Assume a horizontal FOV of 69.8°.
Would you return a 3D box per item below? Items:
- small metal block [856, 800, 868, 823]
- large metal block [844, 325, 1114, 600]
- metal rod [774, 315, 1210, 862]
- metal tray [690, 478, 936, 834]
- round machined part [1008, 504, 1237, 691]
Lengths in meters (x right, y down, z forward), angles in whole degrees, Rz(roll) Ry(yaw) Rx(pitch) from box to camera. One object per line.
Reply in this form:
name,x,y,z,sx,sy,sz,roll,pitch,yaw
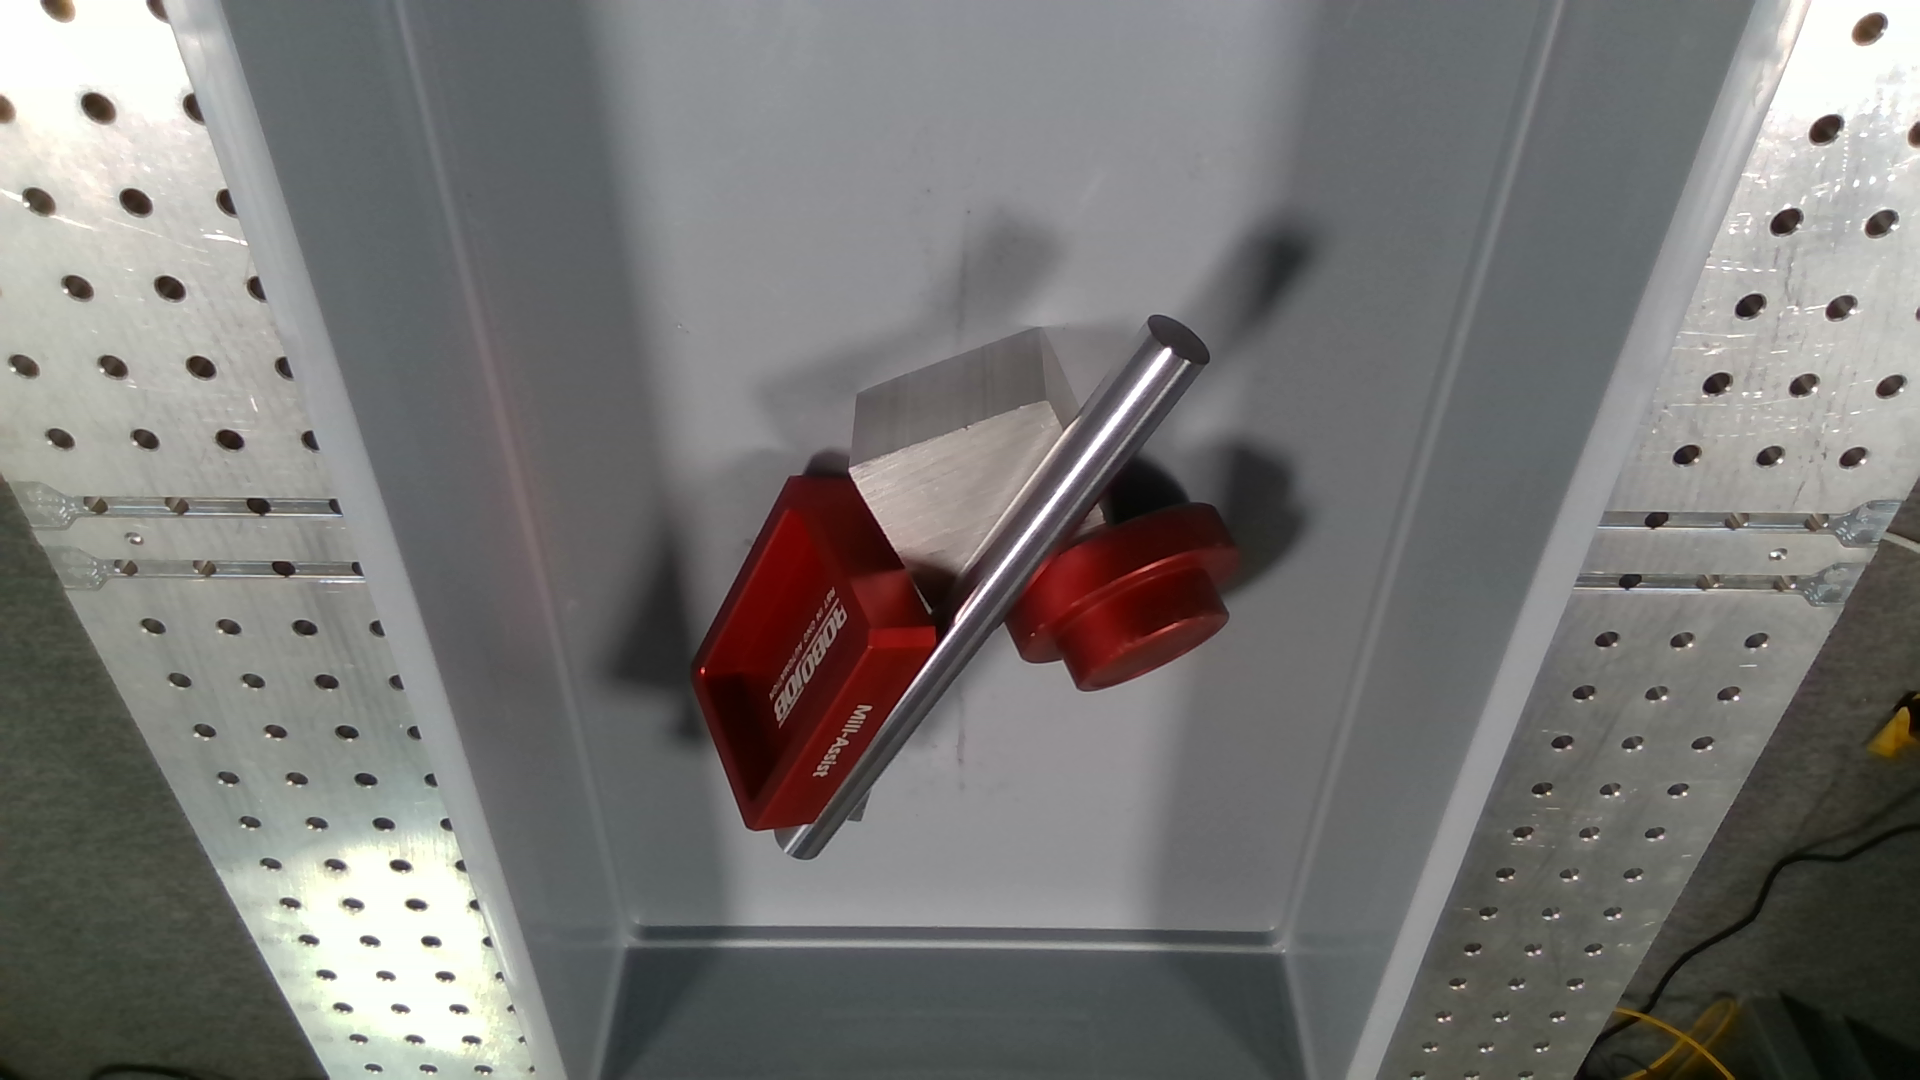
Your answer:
small metal block,-0.067,0.101,0.647,0.050,0.050,0.025,11,129,-9
large metal block,0.010,-0.026,0.539,0.080,0.050,0.080,-18,128,14
metal rod,-0.001,0.034,0.540,0.025,0.025,0.301,23,126,-18
metal tray,-0.066,0.049,0.572,0.030,0.090,0.130,0,137,-37
round machined part,0.069,0.028,0.557,0.098,0.042,0.098,-23,162,-8
